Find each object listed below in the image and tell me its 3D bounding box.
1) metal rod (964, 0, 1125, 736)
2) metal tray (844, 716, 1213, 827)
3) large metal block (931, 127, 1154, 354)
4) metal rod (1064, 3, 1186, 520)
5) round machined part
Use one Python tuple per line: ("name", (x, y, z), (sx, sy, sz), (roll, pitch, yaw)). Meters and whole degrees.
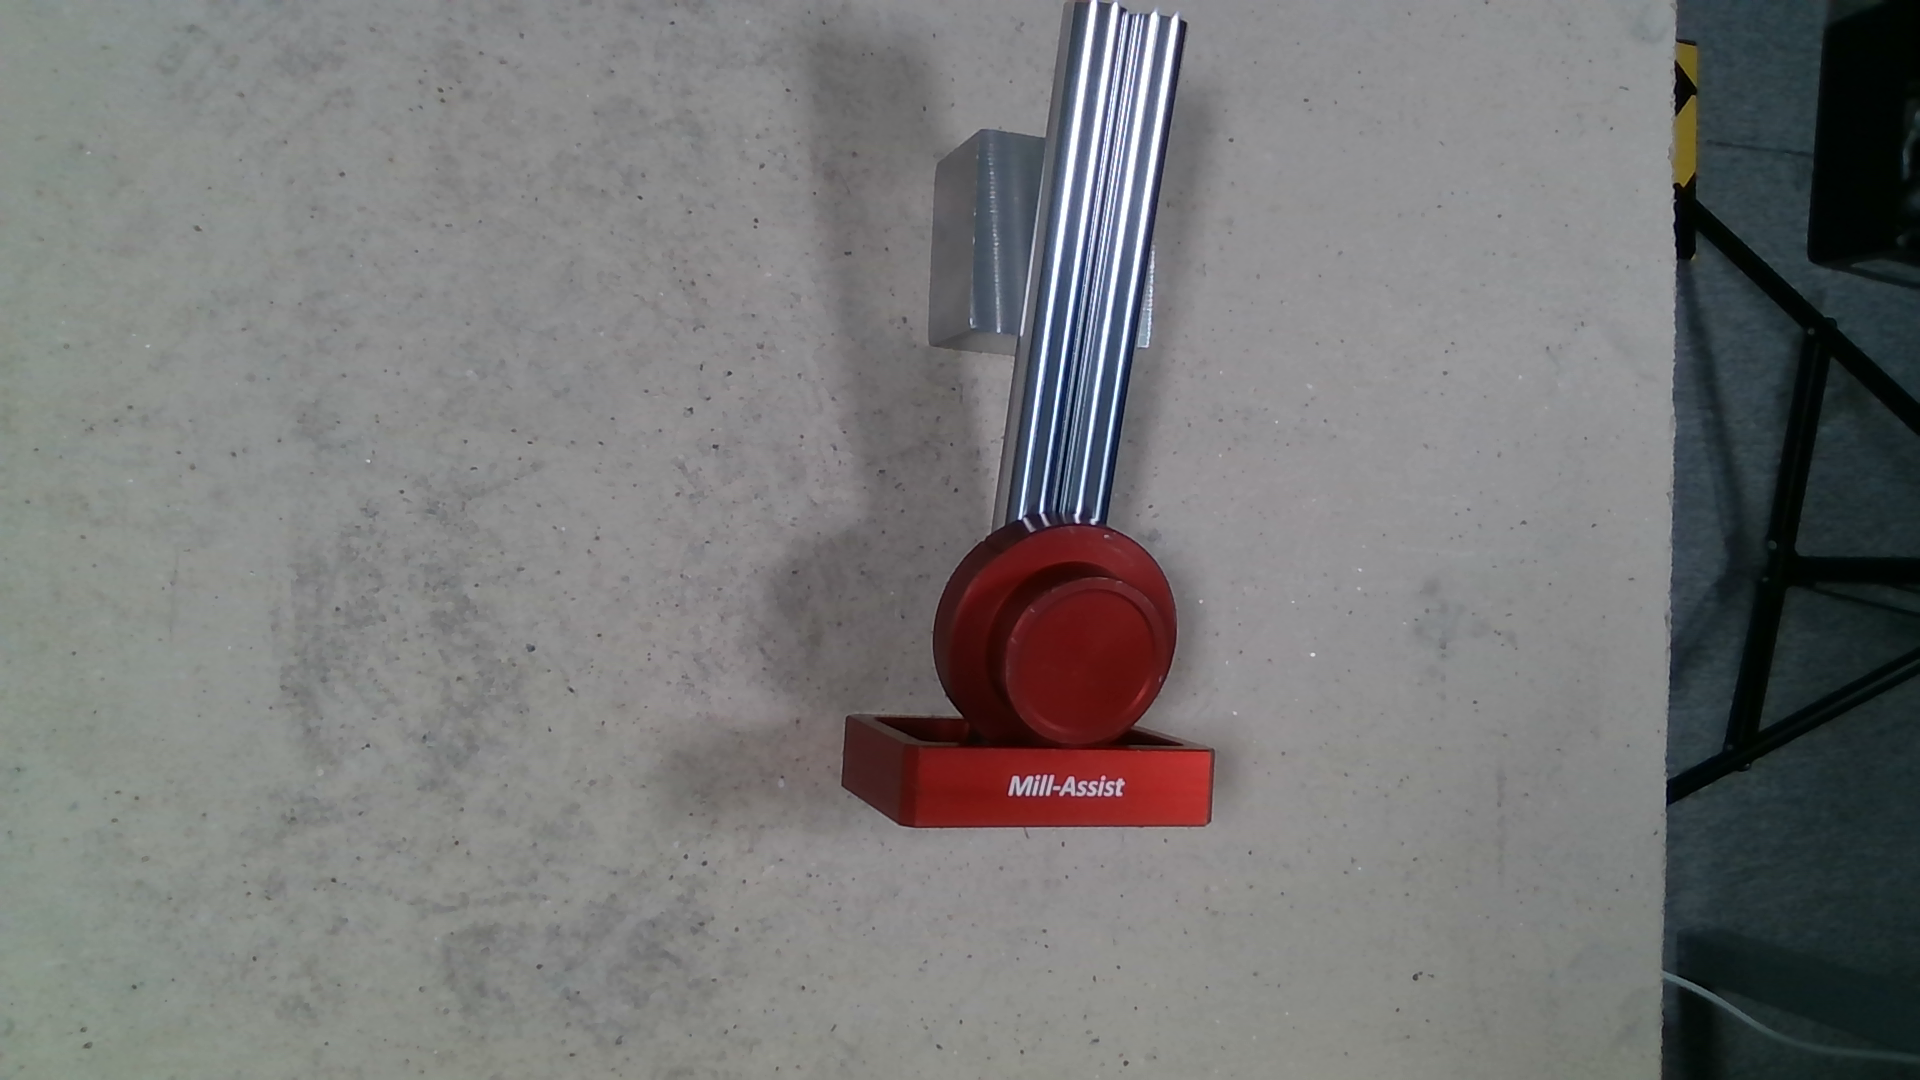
("metal rod", (0.032, -0.060, 0.550), (0.025, 0.025, 0.300), (3, 102, -20))
("metal tray", (0.026, 0.093, 0.561), (0.130, 0.090, 0.030), (4, 89, -20))
("large metal block", (0.035, -0.121, 0.581), (0.080, 0.050, 0.080), (3, 89, -20))
("metal rod", (0.057, -0.058, 0.559), (0.025, 0.025, 0.300), (2, 102, -20))
("round machined part", (0.042, 0.040, 0.541), (0.098, 0.042, 0.098), (-4, 102, -18))
